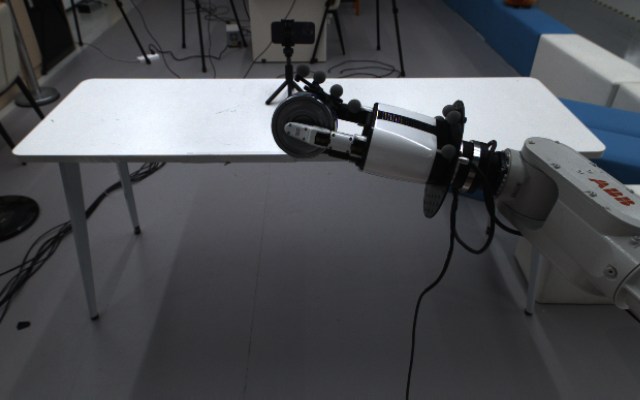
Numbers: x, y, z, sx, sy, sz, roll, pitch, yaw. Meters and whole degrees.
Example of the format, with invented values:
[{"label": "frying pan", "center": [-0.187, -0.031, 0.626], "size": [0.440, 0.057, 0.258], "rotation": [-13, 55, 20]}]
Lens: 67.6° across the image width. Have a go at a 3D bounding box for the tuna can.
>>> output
[{"label": "tuna can", "center": [-0.020, -0.099, 0.641], "size": [0.085, 0.085, 0.034], "rotation": [6, 19, 6]}]
